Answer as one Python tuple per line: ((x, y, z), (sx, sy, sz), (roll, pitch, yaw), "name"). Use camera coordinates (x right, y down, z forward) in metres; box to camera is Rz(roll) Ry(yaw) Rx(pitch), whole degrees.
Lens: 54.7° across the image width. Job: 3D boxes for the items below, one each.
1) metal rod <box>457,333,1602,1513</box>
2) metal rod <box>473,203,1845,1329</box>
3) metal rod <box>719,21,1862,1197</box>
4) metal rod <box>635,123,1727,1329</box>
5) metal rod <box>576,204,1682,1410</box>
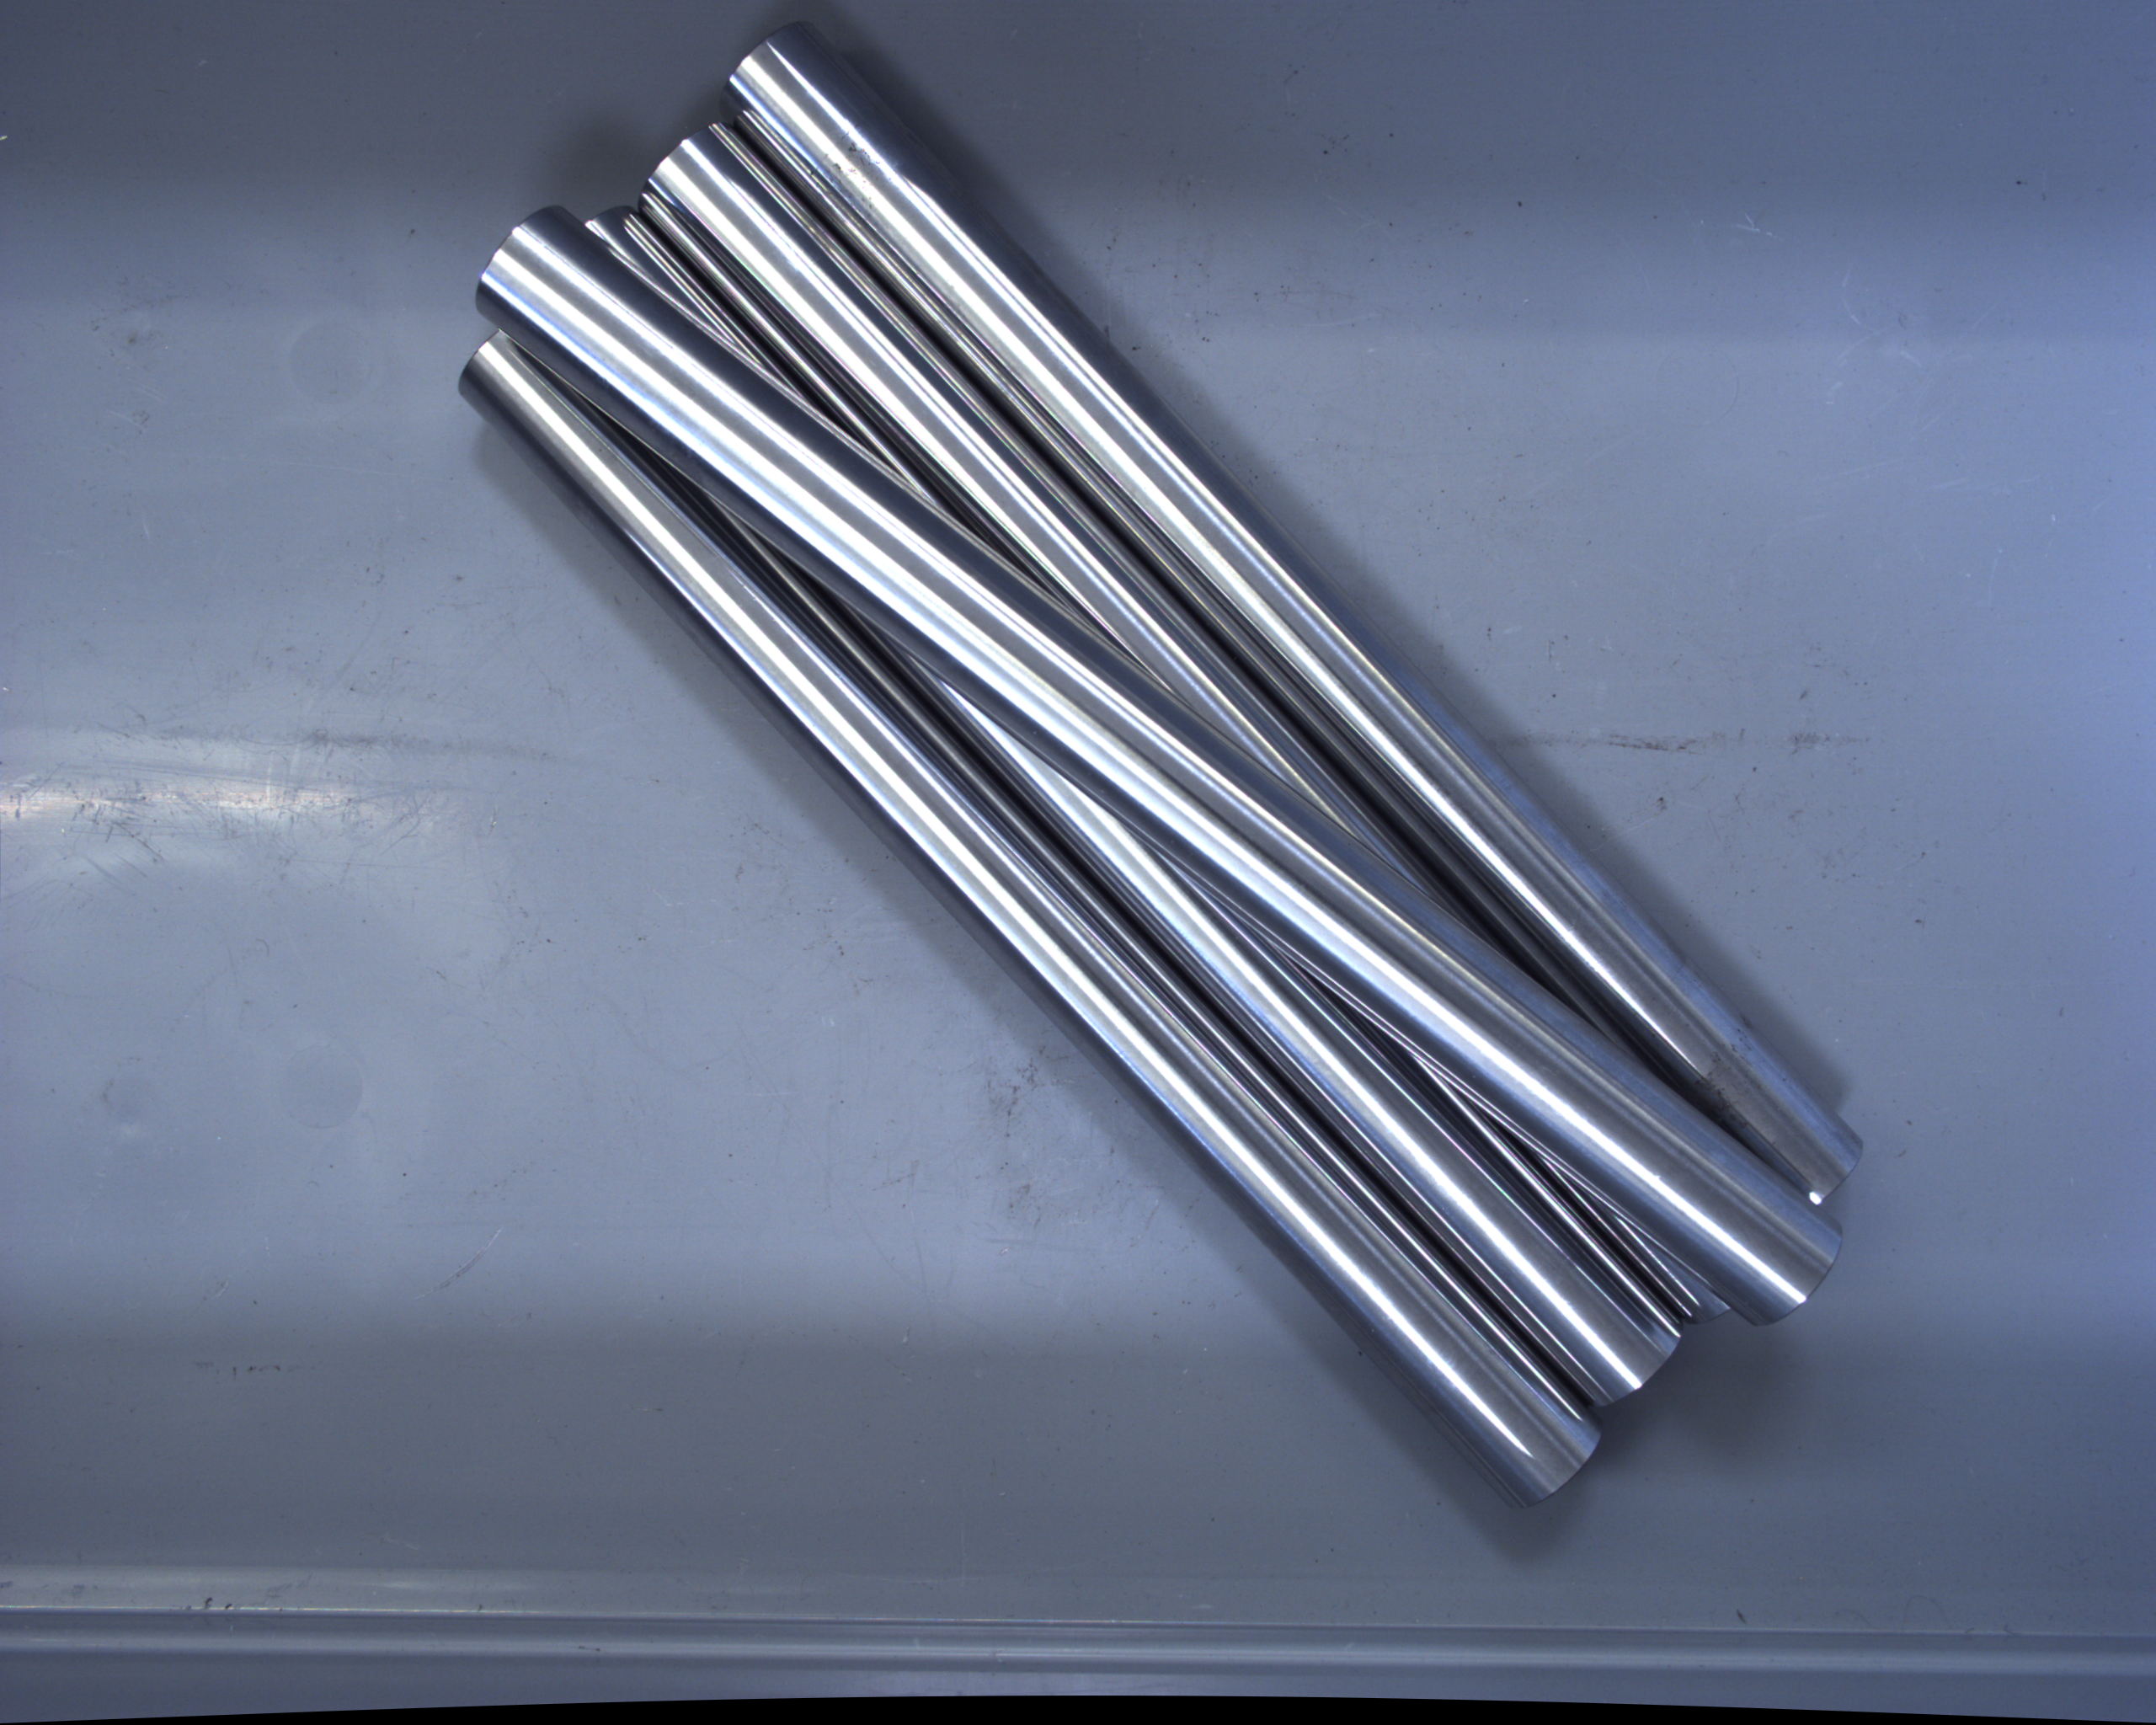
((-0.009, 0.009, 0.410), (0.025, 0.025, 0.300), (-43, 90, 0), "metal rod")
((0.015, -0.017, 0.384), (0.300, 0.025, 0.025), (39, 90, 0), "metal rod")
((0.042, -0.046, 0.410), (0.025, 0.025, 0.300), (-43, 90, 0), "metal rod")
((0.025, -0.026, 0.410), (0.025, 0.025, 0.300), (-43, 90, 0), "metal rod")
((0.006, -0.011, 0.410), (0.025, 0.025, 0.300), (-43, 90, 0), "metal rod")
